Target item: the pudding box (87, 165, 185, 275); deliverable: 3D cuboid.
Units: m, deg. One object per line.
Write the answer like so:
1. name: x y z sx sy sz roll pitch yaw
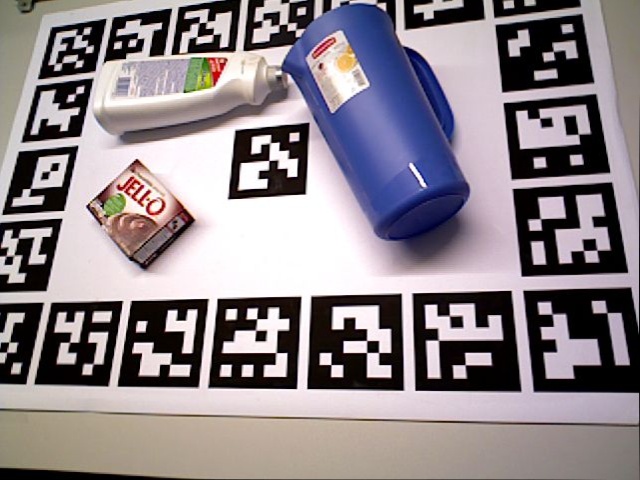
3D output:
1. pudding box: -0.235 -0.025 0.670 0.089 0.039 0.113 -41 68 -10

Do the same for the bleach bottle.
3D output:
1. bleach bottle: -0.171 -0.192 0.708 0.251 0.068 0.102 -5 73 10

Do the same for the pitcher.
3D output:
1. pitcher: 0.075 -0.109 0.599 0.185 0.136 0.241 -12 68 -29
